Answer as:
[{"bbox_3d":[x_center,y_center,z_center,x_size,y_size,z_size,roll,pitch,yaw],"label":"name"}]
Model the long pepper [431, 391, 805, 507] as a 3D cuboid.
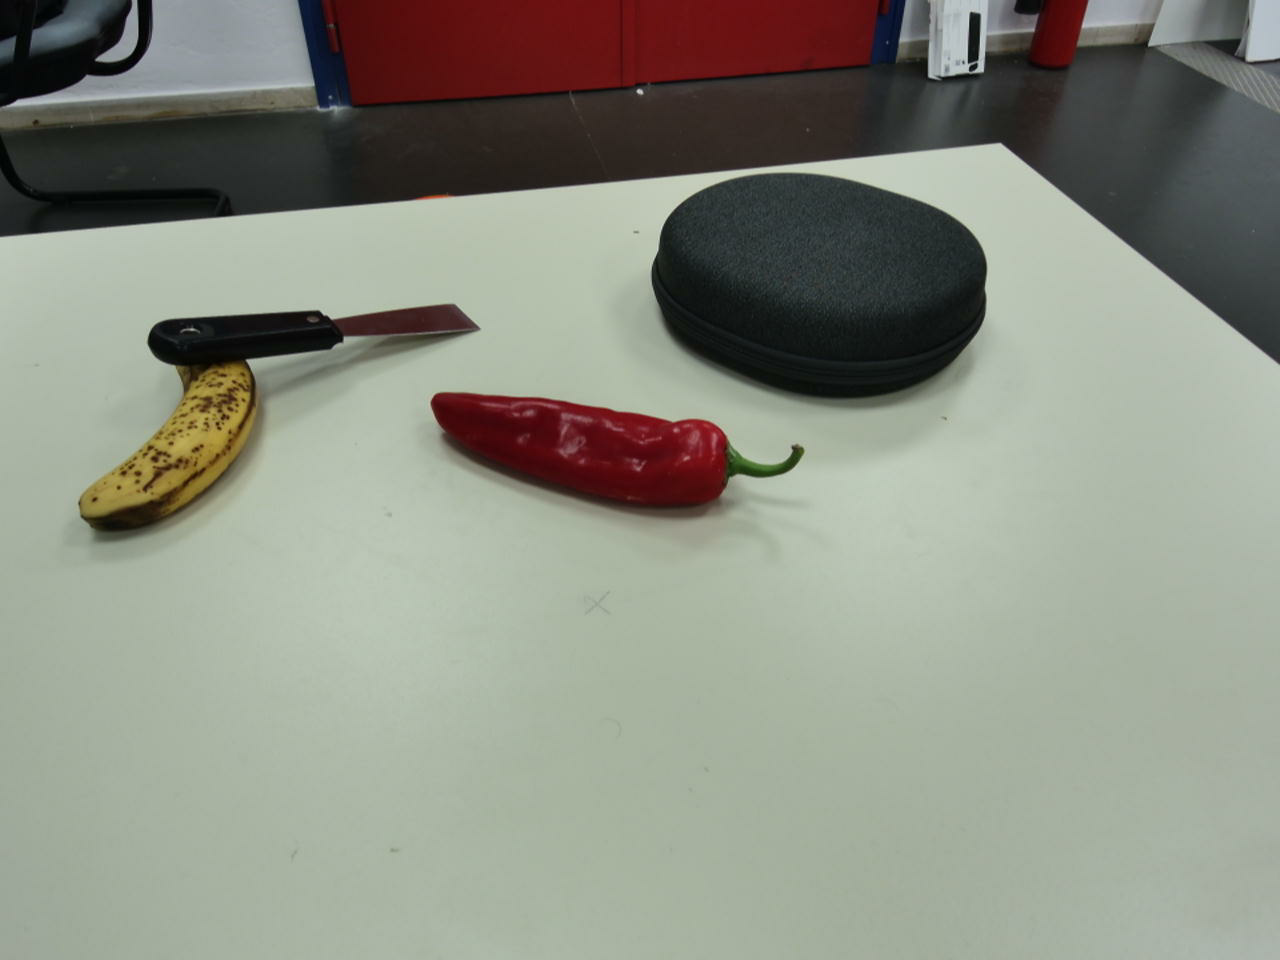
[{"bbox_3d":[-0.021,-0.019,0.524,0.211,0.043,0.050,12,41,15],"label":"long pepper"}]
